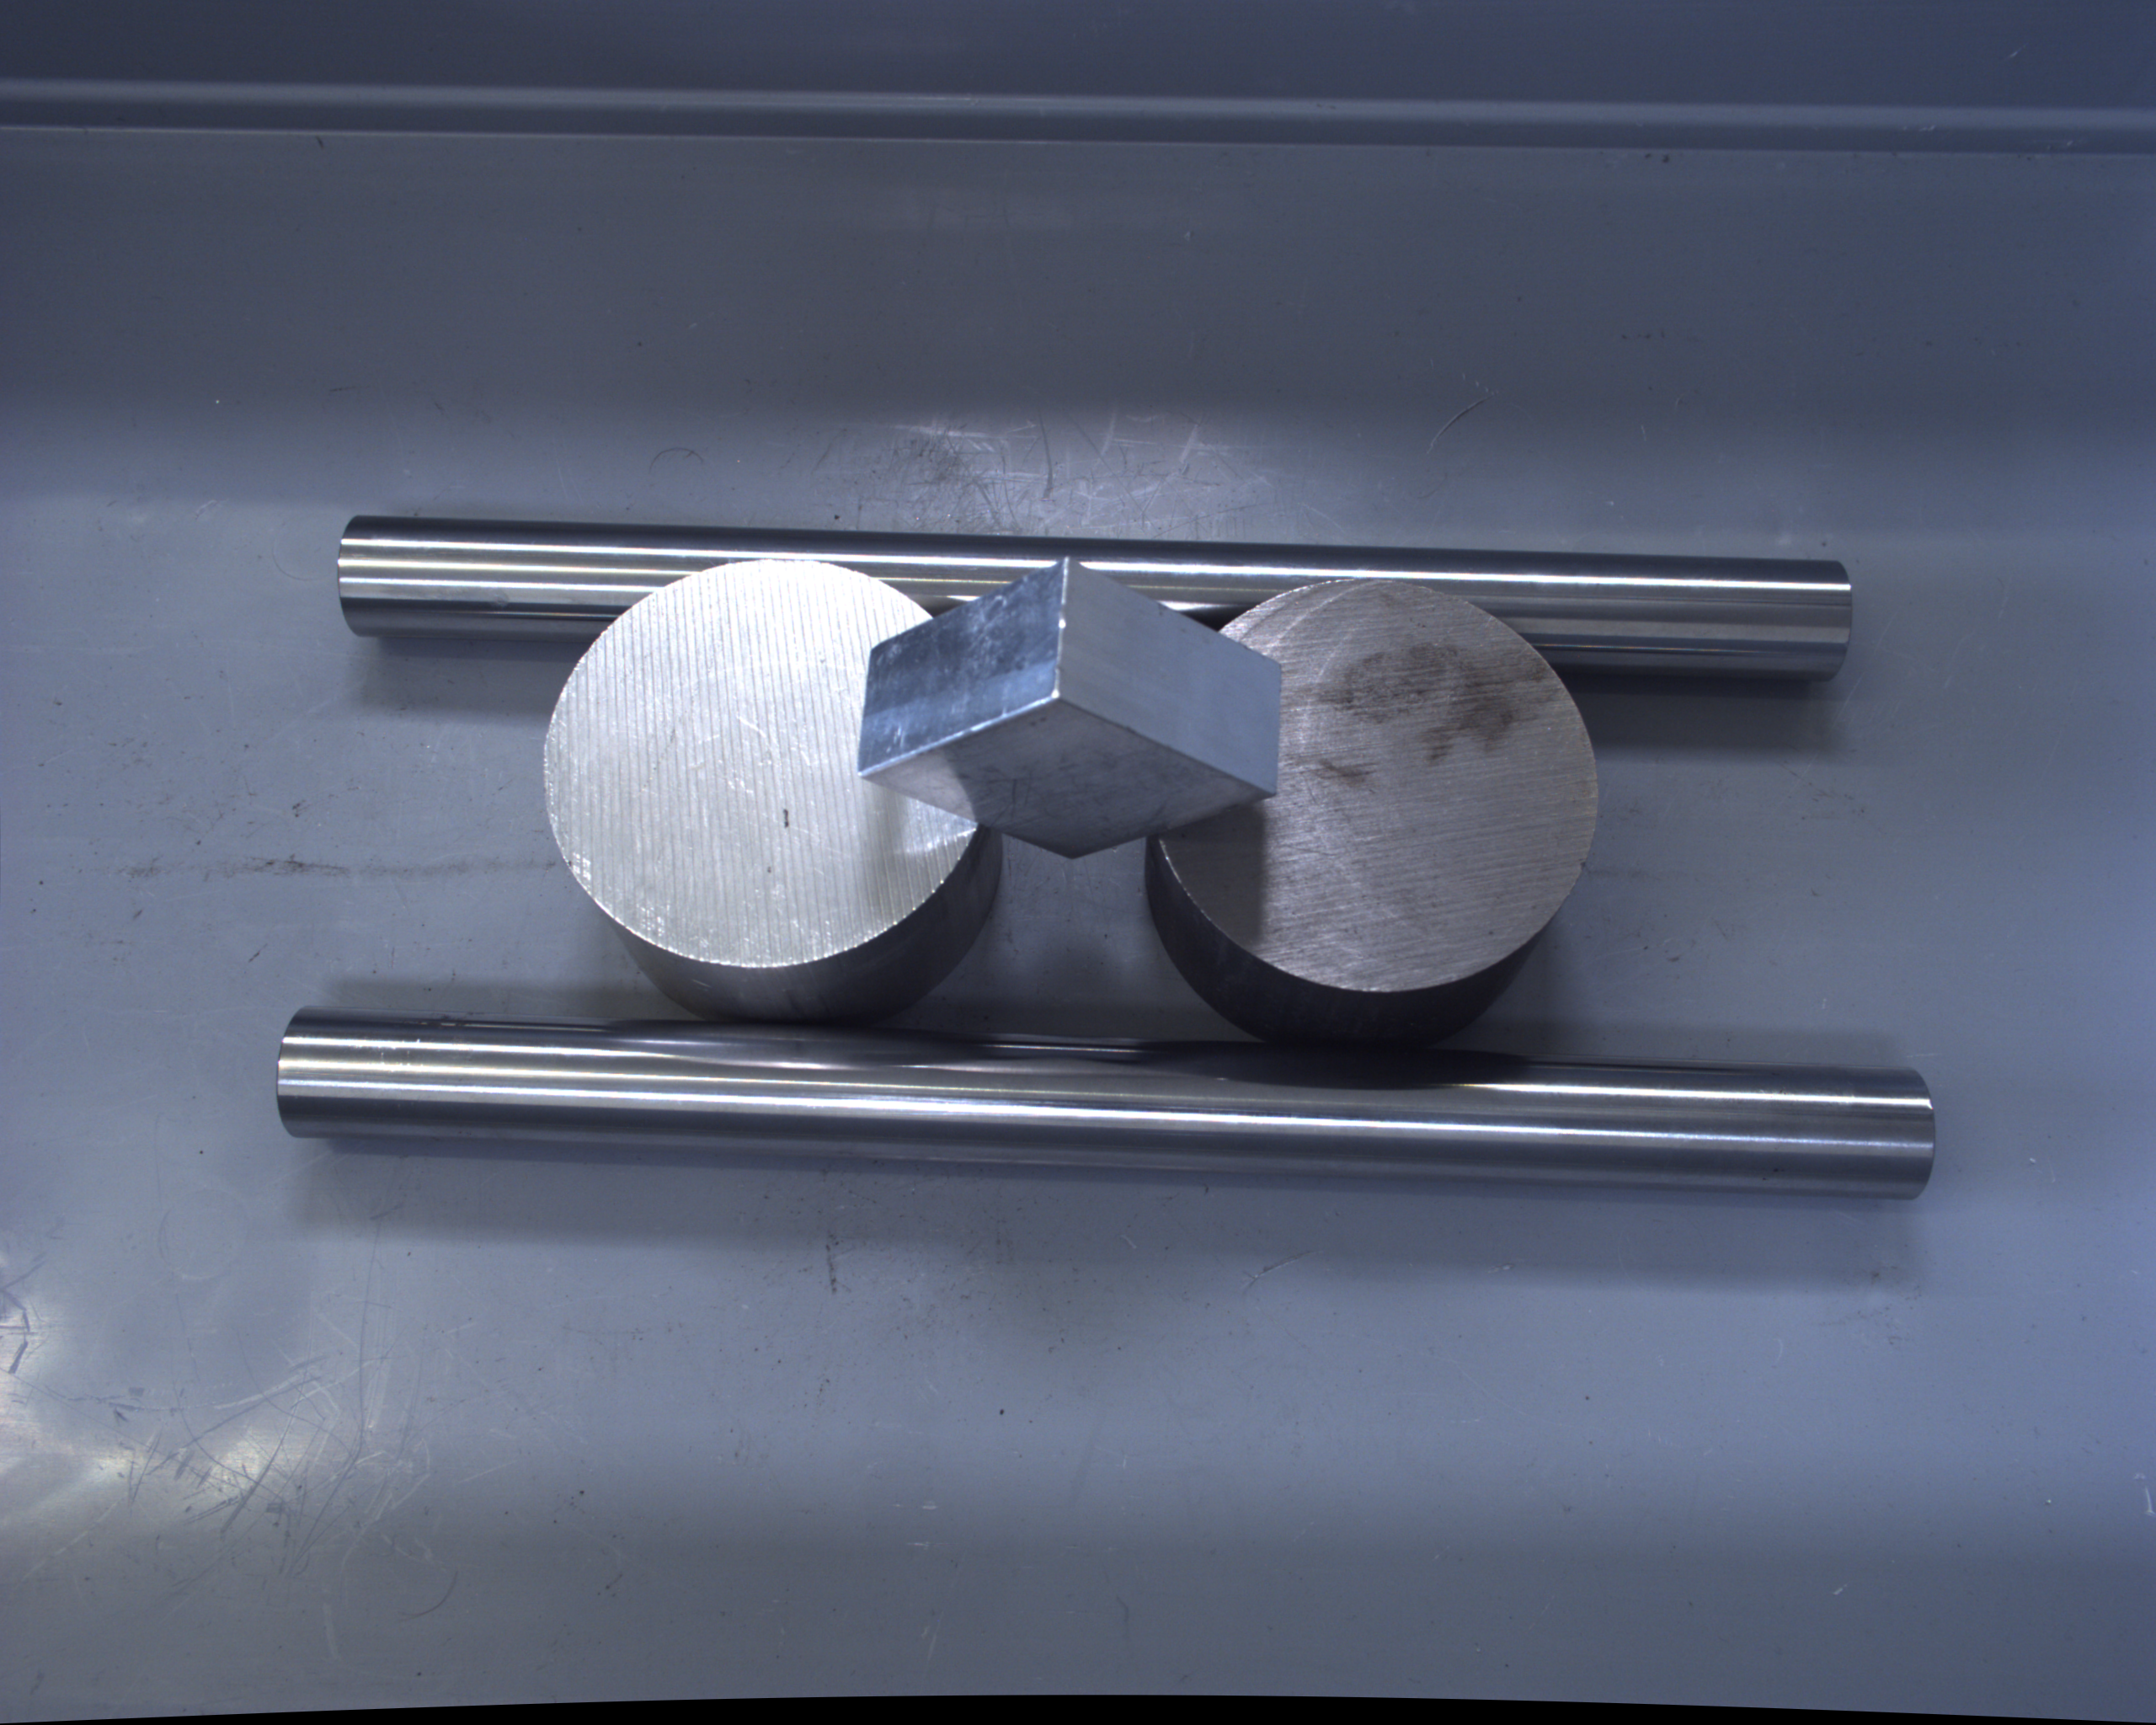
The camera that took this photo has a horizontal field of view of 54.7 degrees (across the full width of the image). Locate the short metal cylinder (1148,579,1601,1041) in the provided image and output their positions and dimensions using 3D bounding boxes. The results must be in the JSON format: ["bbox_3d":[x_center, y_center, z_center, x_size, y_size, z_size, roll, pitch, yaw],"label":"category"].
[{"bbox_3d":[0.054,-0.007,0.398,0.081,0.050,0.080,0,70,0],"label":"short metal cylinder"}]

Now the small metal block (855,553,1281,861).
[{"bbox_3d":[-0.001,-0.024,0.355,0.050,0.050,0.025,21,63,-39],"label":"small metal block"}]

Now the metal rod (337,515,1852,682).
[{"bbox_3d":[0.003,-0.054,0.428,0.302,0.025,0.025,2,70,0],"label":"metal rod"}]

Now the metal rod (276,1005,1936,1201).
[{"bbox_3d":[0.005,0.045,0.392,0.302,0.025,0.025,2,70,0],"label":"metal rod"}]

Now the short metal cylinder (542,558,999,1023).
[{"bbox_3d":[-0.056,-0.011,0.398,0.081,0.050,0.080,0,70,0],"label":"short metal cylinder"}]
